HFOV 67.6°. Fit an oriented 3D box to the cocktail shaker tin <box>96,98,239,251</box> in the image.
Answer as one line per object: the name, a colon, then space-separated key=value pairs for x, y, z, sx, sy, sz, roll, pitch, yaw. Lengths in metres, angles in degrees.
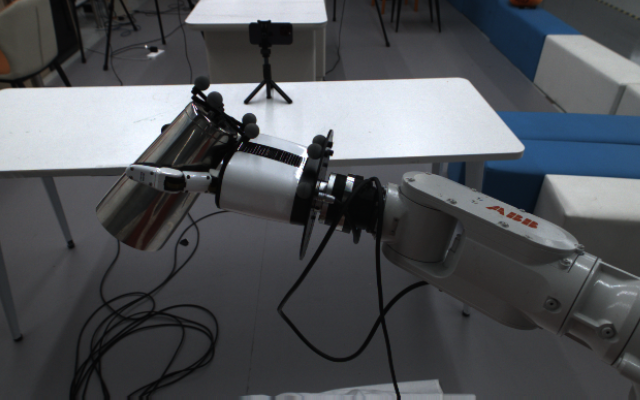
cocktail shaker tin: x=-0.174 y=-0.035 z=0.573 sx=0.093 sy=0.170 sz=0.093 roll=41 pitch=12 yaw=-11
